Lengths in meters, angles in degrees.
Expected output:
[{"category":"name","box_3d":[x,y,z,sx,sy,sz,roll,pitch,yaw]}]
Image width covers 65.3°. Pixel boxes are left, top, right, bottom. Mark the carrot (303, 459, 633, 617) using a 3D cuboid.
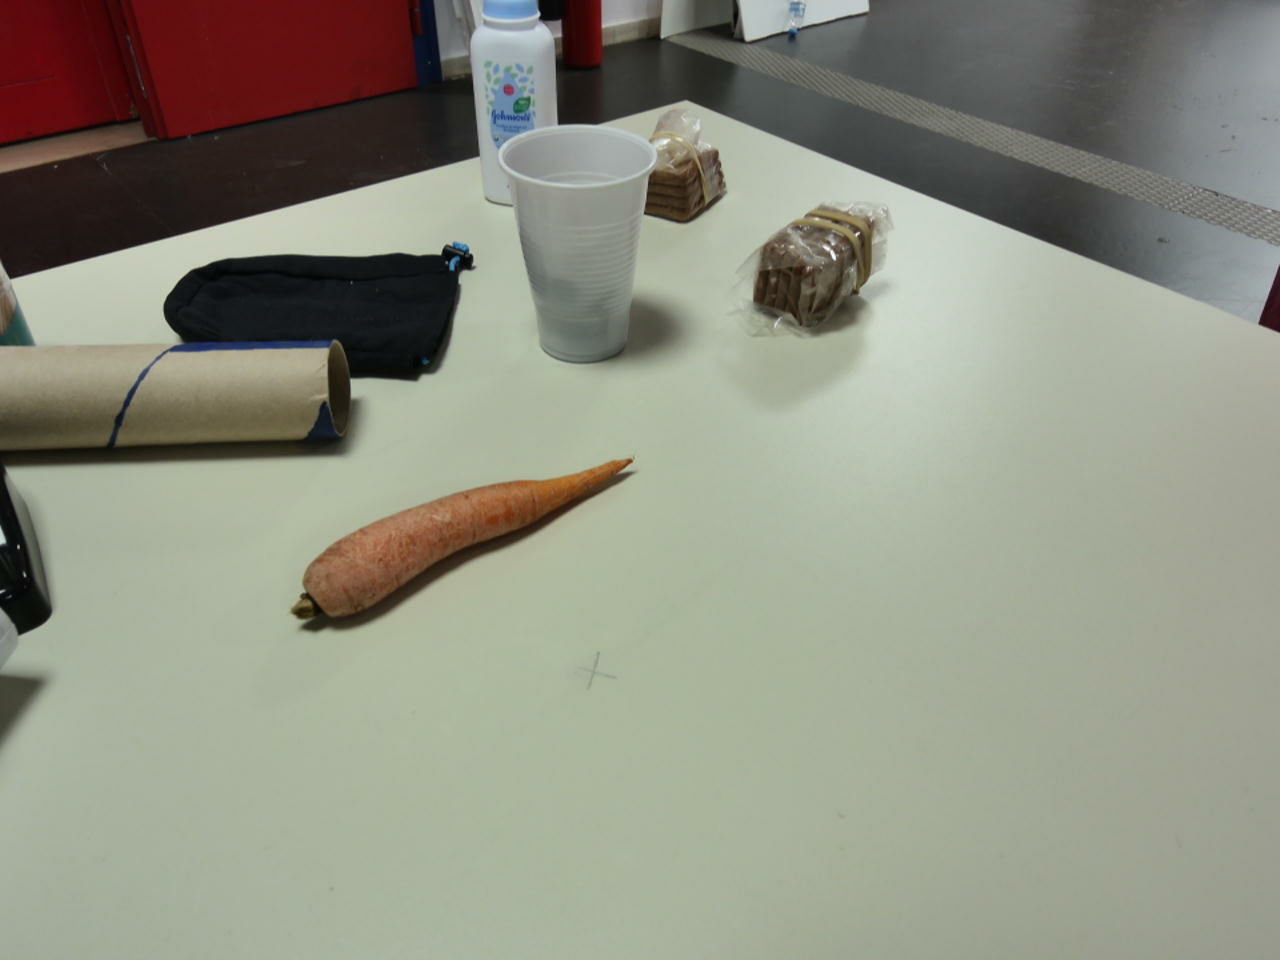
[{"category":"carrot","box_3d":[-0.072,0.015,0.436,0.163,0.029,0.031,-26,44,-31]}]
